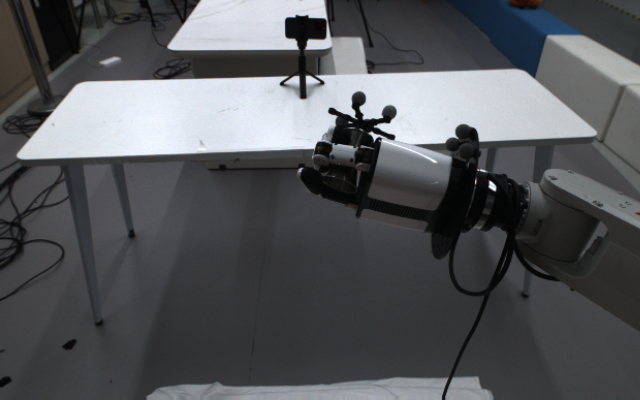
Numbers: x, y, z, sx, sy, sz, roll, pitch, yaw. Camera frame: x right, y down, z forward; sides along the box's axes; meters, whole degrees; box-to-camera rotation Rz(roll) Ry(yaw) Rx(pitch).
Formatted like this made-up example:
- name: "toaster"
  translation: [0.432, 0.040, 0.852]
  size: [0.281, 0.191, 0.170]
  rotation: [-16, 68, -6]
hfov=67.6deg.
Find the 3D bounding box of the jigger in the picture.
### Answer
- name: "jigger"
  translation: [0.037, -0.049, 0.578]
  size: [0.043, 0.043, 0.071]
  rotation: [14, 70, 17]
